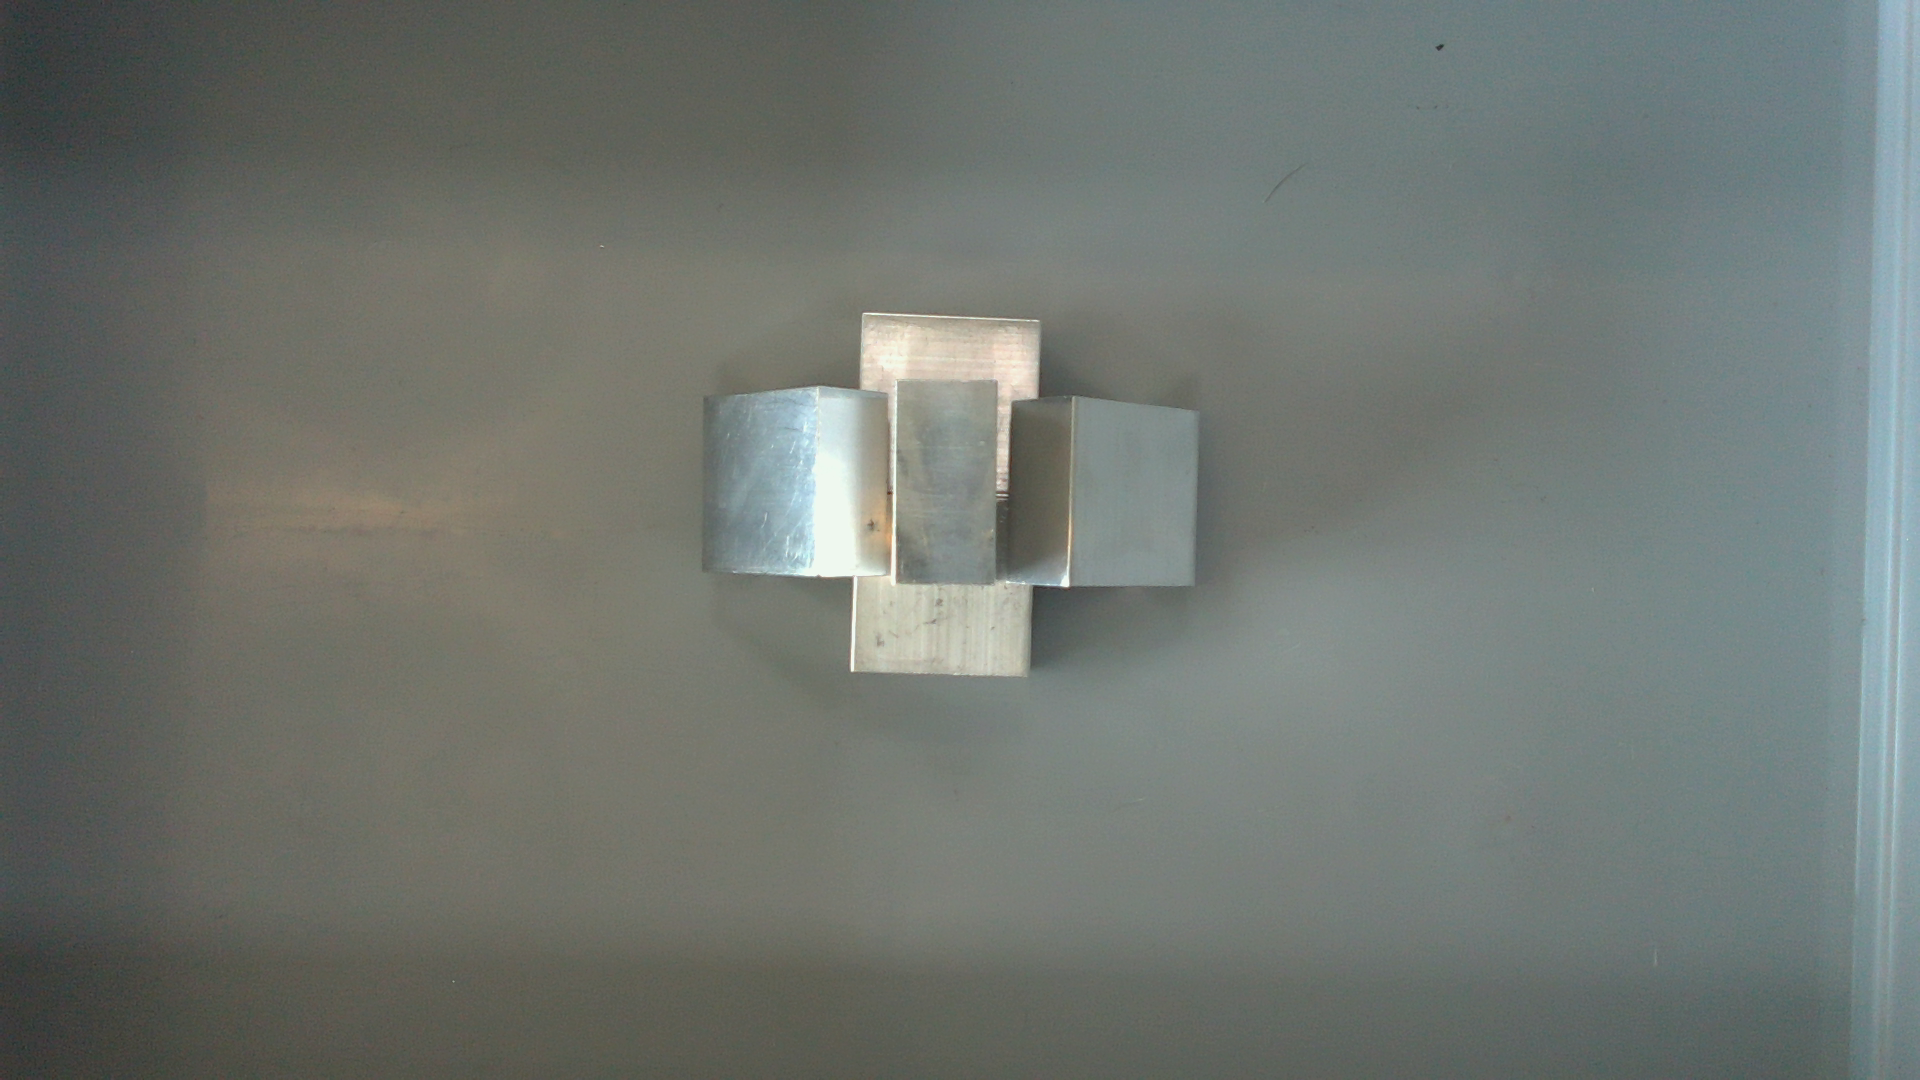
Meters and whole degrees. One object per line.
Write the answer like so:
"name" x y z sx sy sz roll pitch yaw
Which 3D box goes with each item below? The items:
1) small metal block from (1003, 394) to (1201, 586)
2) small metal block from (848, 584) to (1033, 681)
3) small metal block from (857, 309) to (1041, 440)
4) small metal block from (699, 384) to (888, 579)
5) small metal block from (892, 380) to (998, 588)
"small metal block" 0.040 -0.013 0.382 0.050 0.025 0.050 1 91 -39
"small metal block" -0.005 0.013 0.394 0.050 0.025 0.050 2 90 0
"small metal block" -0.004 -0.038 0.393 0.050 0.025 0.050 2 90 -1
"small metal block" -0.047 -0.015 0.380 0.050 0.025 0.050 1 91 43
"small metal block" -0.004 -0.014 0.356 0.025 0.050 0.050 0 90 0
